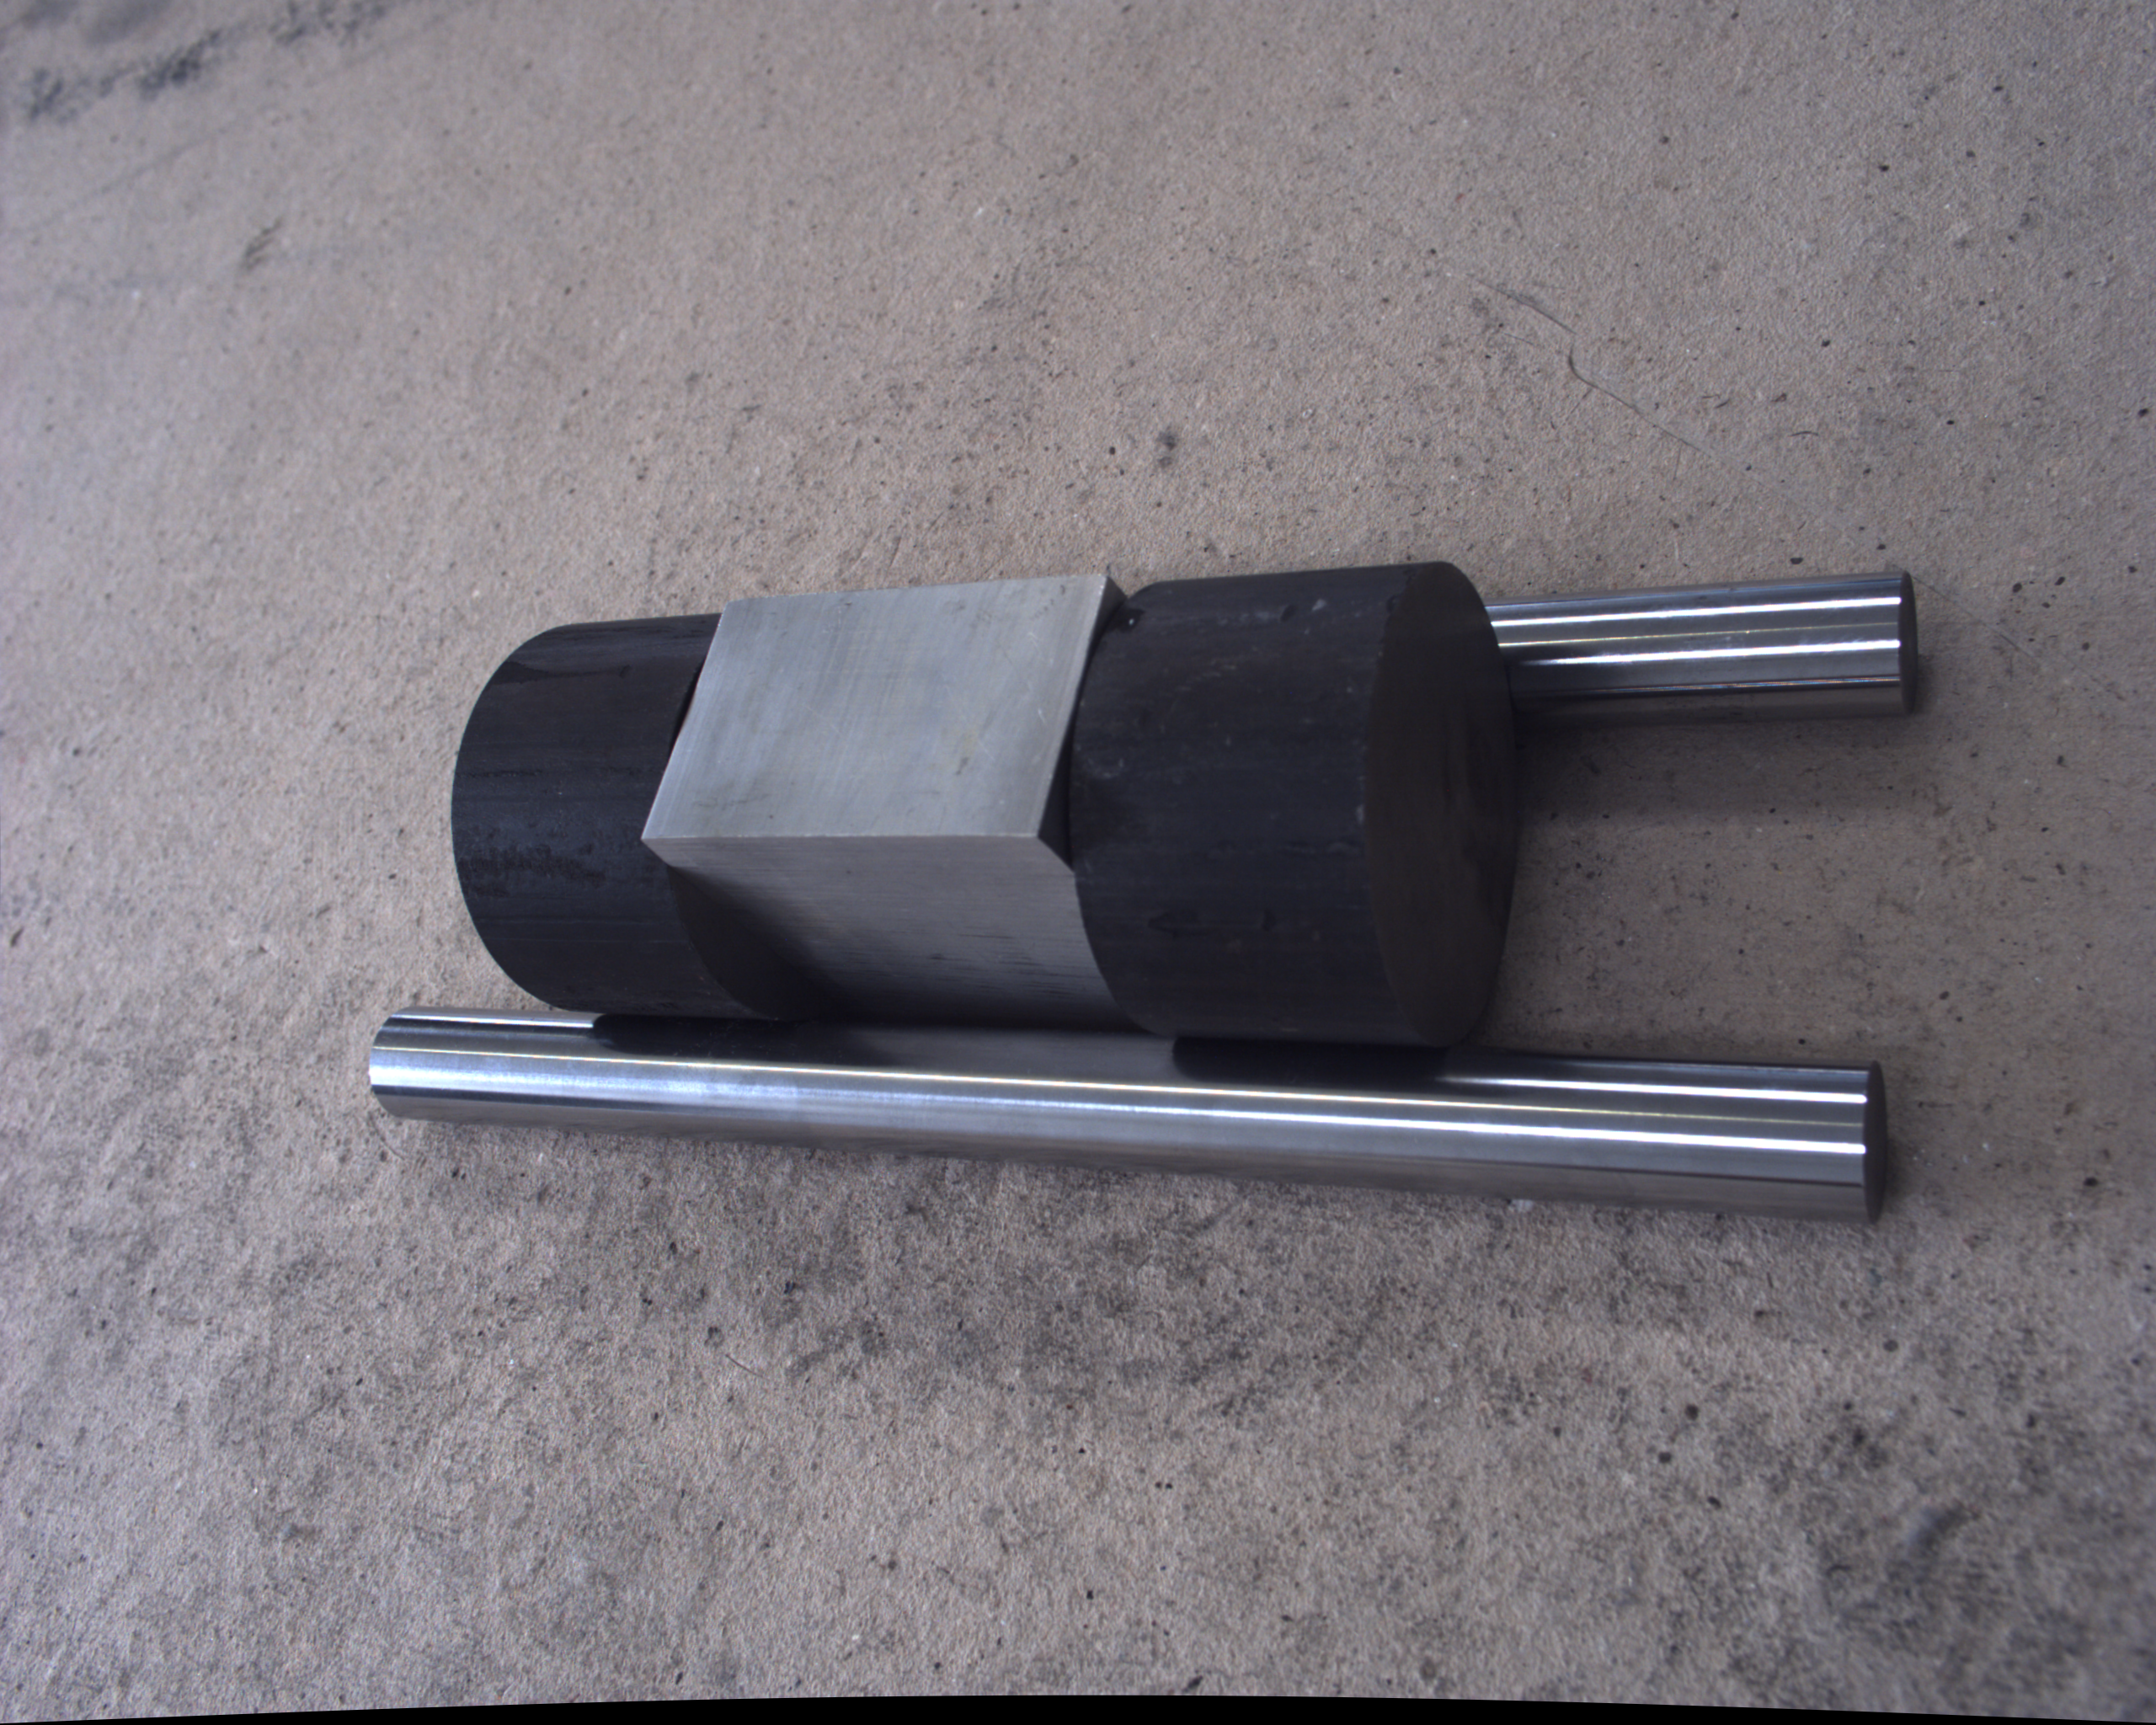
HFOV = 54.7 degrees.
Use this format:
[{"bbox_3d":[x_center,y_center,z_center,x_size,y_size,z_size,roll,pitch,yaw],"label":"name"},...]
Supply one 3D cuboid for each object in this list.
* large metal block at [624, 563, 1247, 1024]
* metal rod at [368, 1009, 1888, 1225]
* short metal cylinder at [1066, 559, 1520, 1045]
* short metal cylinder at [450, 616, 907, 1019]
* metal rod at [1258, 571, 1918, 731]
[{"bbox_3d":[-0.020,-0.009,0.383,0.080,0.080,0.050,0,62,28],"label":"large metal block"},{"bbox_3d":[-0.012,0.043,0.386,0.300,0.025,0.025,0,62,28],"label":"metal rod"},{"bbox_3d":[0.039,-0.010,0.355,0.050,0.080,0.080,-1,61,28],"label":"short metal cylinder"},{"bbox_3d":[-0.077,-0.009,0.416,0.050,0.080,0.080,-1,61,28],"label":"short metal cylinder"},{"bbox_3d":[0.008,-0.036,0.424,0.300,0.025,0.025,0,62,28],"label":"metal rod"}]
